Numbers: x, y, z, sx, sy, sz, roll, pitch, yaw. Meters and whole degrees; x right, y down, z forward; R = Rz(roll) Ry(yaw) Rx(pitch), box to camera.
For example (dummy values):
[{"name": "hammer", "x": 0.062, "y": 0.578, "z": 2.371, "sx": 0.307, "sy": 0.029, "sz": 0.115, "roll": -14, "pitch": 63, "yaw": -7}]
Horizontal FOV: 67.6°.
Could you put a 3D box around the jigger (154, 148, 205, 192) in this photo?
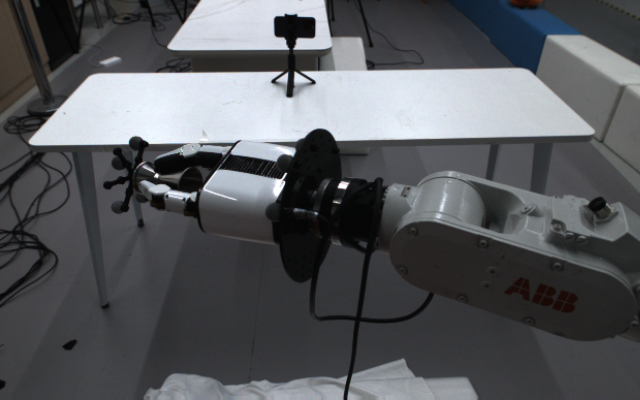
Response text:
[{"name": "jigger", "x": -0.172, "y": -0.023, "z": 0.565, "sx": 0.071, "sy": 0.043, "sz": 0.043, "roll": 10, "pitch": 35, "yaw": 22}]
